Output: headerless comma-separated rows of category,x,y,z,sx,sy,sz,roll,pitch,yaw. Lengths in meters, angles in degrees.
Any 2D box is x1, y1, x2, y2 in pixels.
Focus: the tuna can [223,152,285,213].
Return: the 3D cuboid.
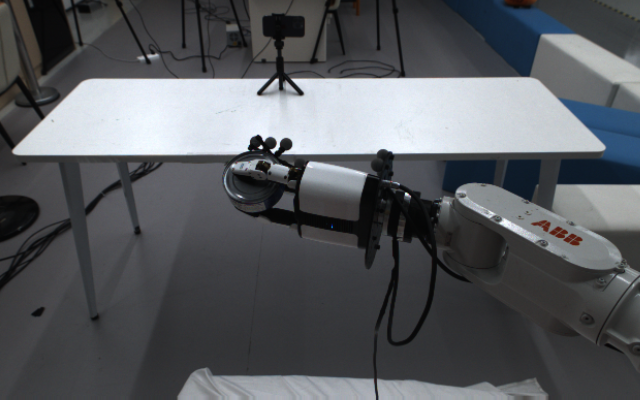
tuna can,-0.093,-0.026,0.688,0.085,0.034,0.085,-2,60,3
